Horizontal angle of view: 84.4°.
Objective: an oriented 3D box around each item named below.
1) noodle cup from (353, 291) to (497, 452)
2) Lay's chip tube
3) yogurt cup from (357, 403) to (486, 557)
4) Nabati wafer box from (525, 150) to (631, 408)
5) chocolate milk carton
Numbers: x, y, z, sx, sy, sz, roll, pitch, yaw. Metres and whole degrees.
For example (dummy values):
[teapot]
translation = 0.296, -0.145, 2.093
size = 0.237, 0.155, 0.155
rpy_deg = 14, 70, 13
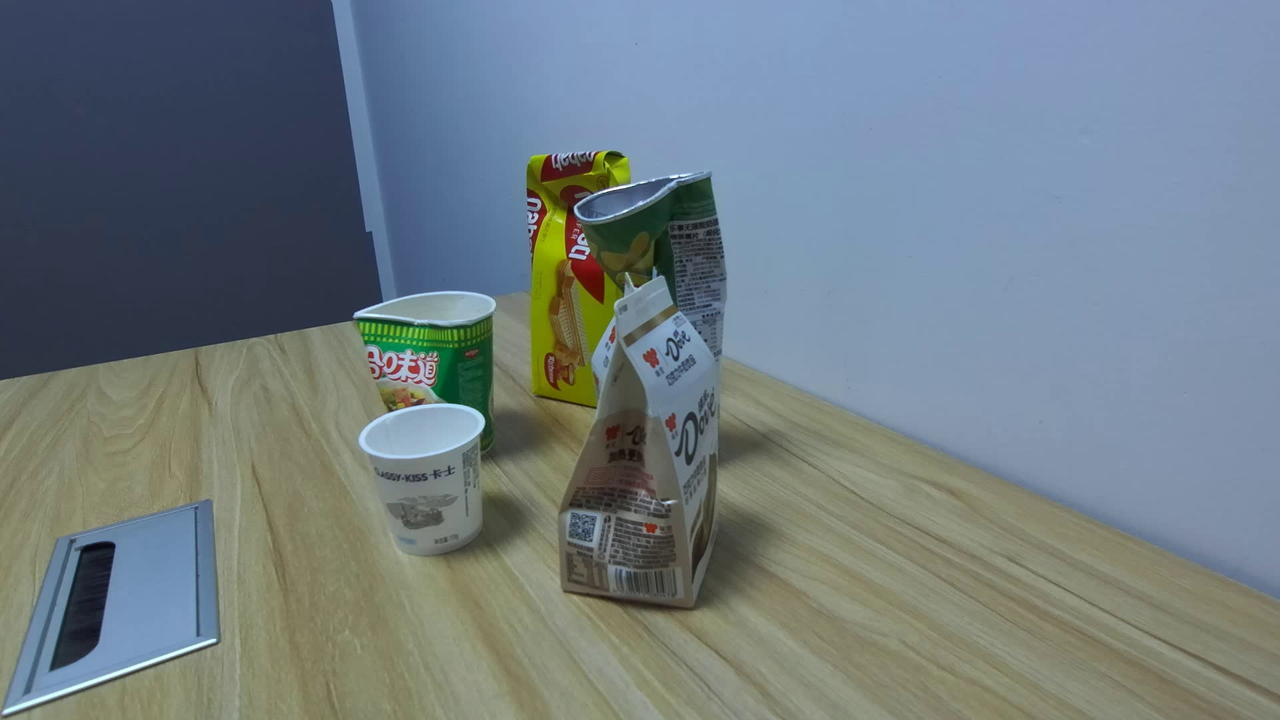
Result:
[noodle cup]
translation = -0.144, 0.014, 0.521
size = 0.093, 0.109, 0.087
rpy_deg = 16, 26, 40
[Lay's chip tube]
translation = 0.011, -0.022, 0.473
size = 0.078, 0.199, 0.071
rpy_deg = 18, 37, 40
[yogurt cup]
translation = -0.123, 0.071, 0.416
size = 0.072, 0.068, 0.072
rpy_deg = -2, 20, 1
[Nabati wafer box]
translation = -0.048, -0.063, 0.579
size = 0.113, 0.205, 0.043
rpy_deg = 8, 20, 29
[chocolate milk carton]
translation = -0.001, 0.039, 0.364
size = 0.073, 0.155, 0.084
rpy_deg = 4, 22, 15
